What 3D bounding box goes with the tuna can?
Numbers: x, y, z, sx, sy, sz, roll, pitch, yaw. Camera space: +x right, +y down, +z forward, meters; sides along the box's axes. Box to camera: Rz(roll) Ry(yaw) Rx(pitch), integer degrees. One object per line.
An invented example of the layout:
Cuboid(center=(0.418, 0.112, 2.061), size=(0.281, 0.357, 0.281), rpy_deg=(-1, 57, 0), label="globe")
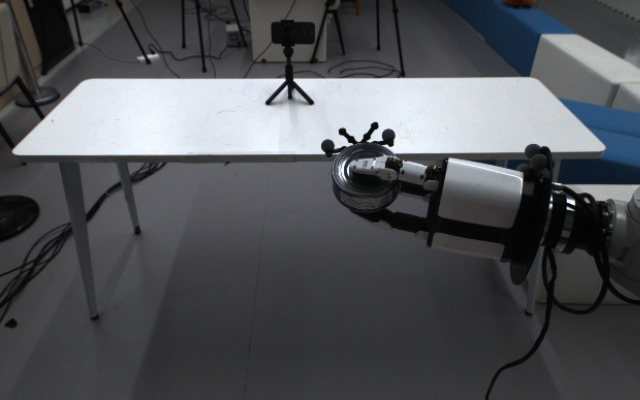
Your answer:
Cuboid(center=(0.060, -0.030, 0.598), size=(0.085, 0.034, 0.085), rpy_deg=(-3, 59, 5), label="tuna can")
